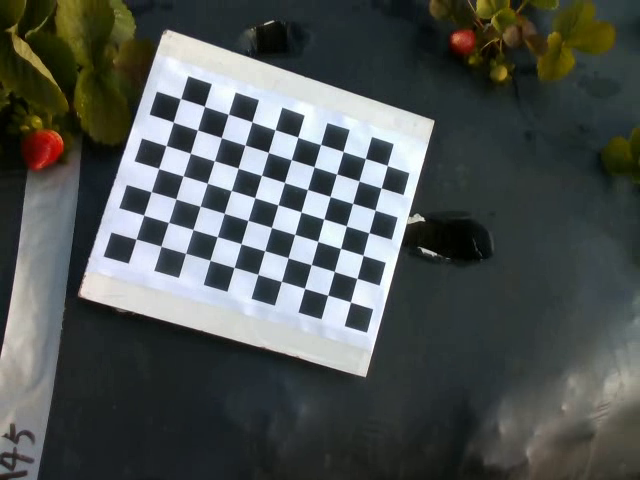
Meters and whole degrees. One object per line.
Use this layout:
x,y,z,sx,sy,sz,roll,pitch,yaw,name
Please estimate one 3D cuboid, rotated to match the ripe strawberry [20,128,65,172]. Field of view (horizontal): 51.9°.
-0.244,-0.077,0.574,0.050,0.055,0.036,12,-27,-14,ripe strawberry
